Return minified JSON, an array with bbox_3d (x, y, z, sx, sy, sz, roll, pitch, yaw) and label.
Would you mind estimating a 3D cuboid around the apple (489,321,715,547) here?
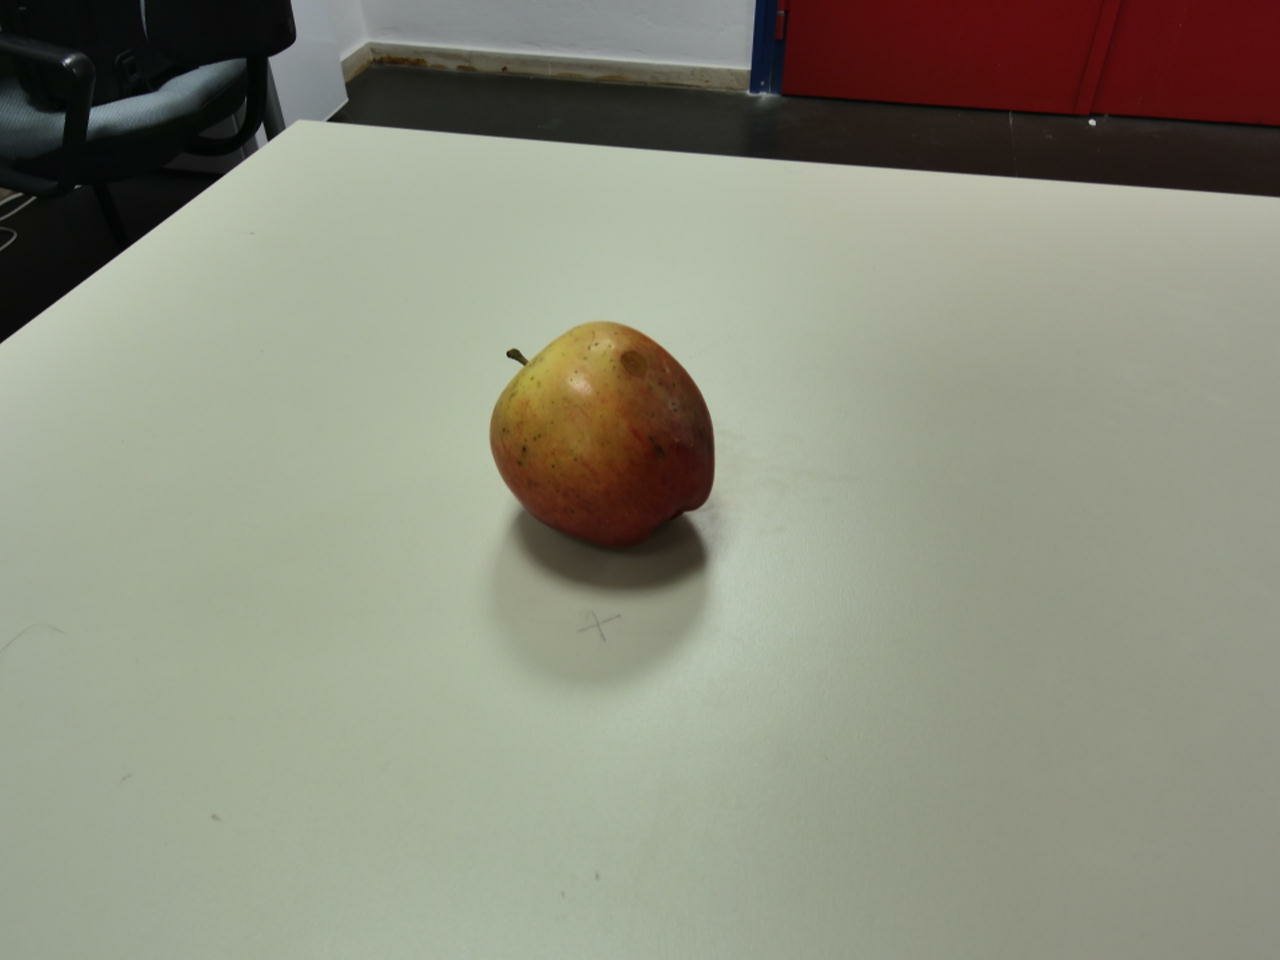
[{"bbox_3d":[-0.016,-0.019,0.402,0.086,0.084,0.093,-16,40,-17],"label":"apple"}]
